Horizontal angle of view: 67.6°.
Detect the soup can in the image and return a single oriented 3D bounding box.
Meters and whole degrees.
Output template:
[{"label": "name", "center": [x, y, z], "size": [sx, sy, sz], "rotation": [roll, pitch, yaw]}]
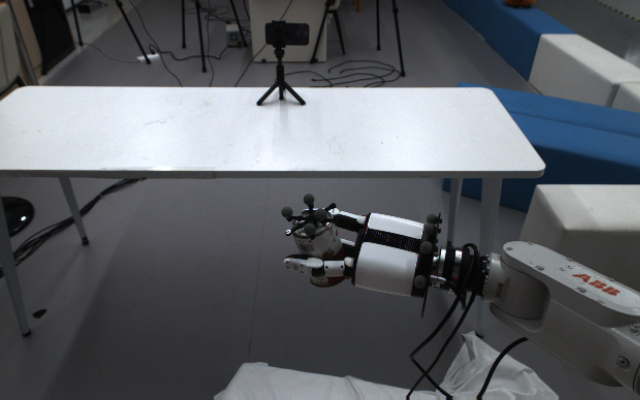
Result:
[{"label": "soup can", "center": [0.004, 0.075, 0.741], "size": [0.067, 0.101, 0.067], "rotation": [-14, 31, 8]}]
